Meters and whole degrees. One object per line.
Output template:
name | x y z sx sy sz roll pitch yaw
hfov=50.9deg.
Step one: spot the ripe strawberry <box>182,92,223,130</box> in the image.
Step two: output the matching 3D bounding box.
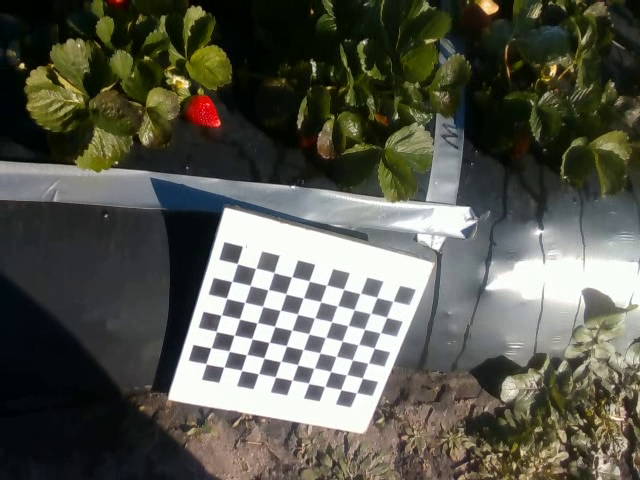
ripe strawberry | -0.148 -0.161 0.838 0.045 0.058 0.042 -45 4 5
